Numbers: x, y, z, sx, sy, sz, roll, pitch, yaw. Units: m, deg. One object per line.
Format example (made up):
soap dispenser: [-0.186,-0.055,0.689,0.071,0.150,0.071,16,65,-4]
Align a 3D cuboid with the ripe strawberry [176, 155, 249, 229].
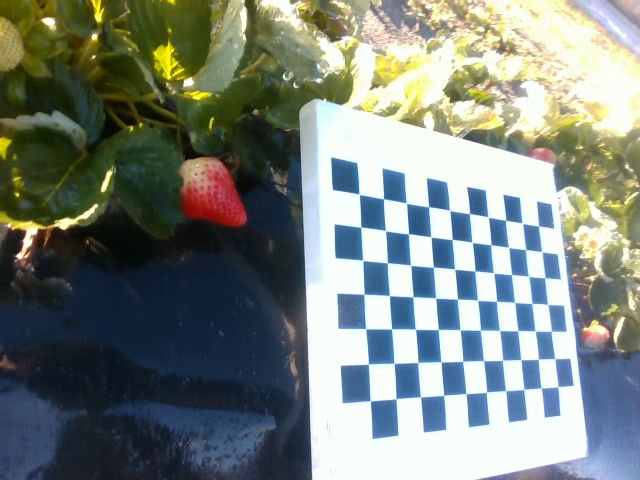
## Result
ripe strawberry: [-0.073,-0.029,0.420,0.040,0.065,0.040,-21,28,49]
